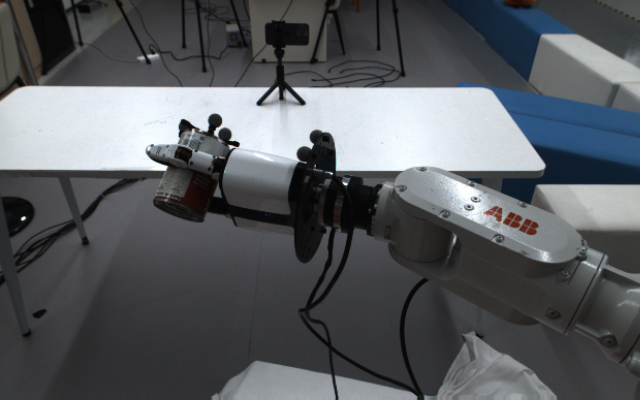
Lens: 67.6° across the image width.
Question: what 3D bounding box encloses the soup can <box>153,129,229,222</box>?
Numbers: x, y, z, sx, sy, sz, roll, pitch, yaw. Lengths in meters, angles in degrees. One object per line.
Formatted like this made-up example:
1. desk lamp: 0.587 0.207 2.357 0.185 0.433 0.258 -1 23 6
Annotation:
1. soup can: -0.162 -0.030 0.618 0.067 0.067 0.101 12 70 14
